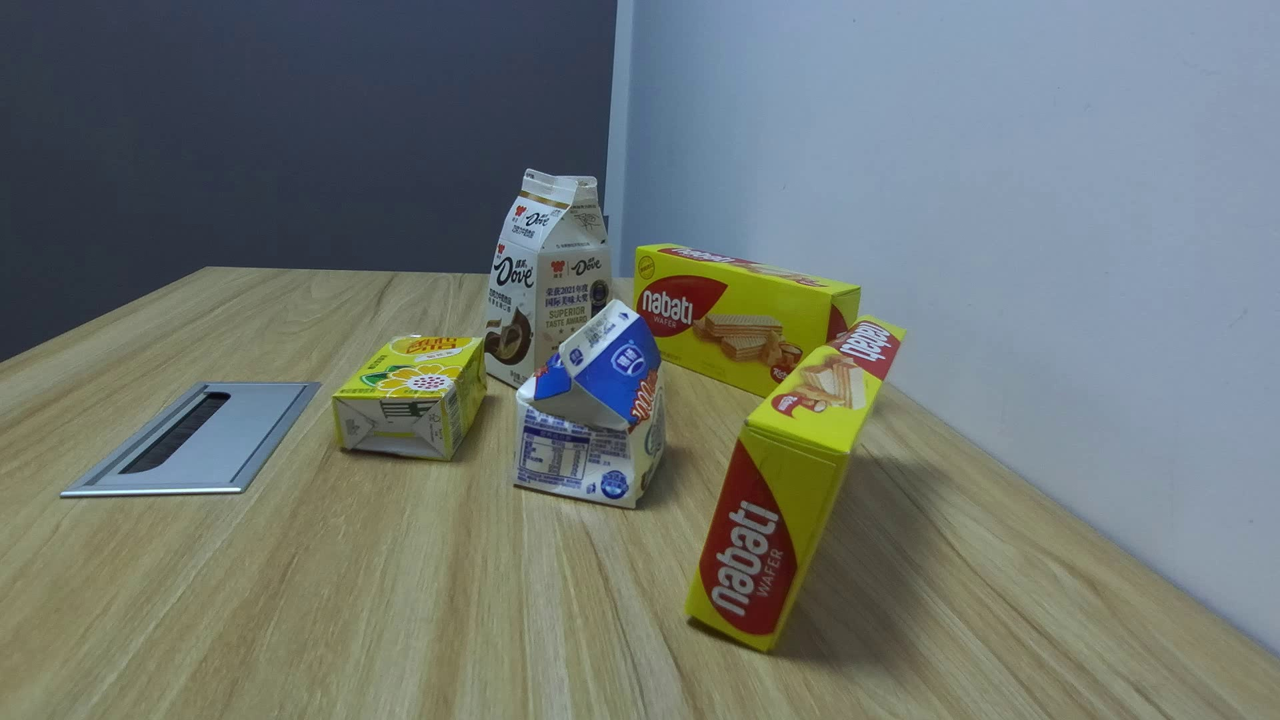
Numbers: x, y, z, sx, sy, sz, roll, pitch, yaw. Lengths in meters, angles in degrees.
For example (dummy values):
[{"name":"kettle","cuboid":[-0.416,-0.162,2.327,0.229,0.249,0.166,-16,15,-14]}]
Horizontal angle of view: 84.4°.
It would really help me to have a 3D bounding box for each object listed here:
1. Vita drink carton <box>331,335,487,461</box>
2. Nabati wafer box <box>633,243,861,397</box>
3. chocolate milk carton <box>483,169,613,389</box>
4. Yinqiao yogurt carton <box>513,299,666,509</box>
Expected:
[{"name":"Vita drink carton","cuboid":[-0.145,0.021,0.451,0.076,0.043,0.108,0,20,0]},{"name":"Nabati wafer box","cuboid":[0.075,-0.031,0.566,0.042,0.093,0.202,-13,25,-41]},{"name":"chocolate milk carton","cuboid":[-0.070,-0.061,0.529,0.073,0.155,0.084,-14,26,-41]},{"name":"Yinqiao yogurt carton","cuboid":[-0.023,0.018,0.397,0.077,0.093,0.083,8,19,14]}]
